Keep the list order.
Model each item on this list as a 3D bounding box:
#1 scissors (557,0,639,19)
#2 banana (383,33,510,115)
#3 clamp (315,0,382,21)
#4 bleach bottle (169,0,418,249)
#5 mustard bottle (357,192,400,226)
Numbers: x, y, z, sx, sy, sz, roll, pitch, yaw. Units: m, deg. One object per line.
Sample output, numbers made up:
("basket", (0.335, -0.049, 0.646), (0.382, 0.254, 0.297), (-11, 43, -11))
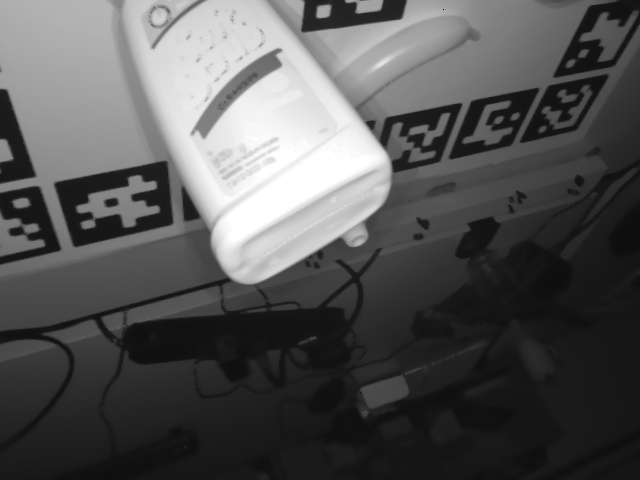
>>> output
("scissors", (0.279, -0.203, 0.575), (0.205, 0.016, 0.086), (10, 128, -35))
("banana", (0.098, -0.147, 0.681), (0.196, 0.039, 0.075), (-35, 161, 12))
("clamp", (-0.047, -0.213, 0.487), (0.205, 0.037, 0.164), (-15, 142, -13))
("bleach bottle", (-0.045, -0.118, 0.427), (0.103, 0.250, 0.067), (-28, 150, -8))
("mustard bottle", (0.022, -0.086, 0.596), (0.097, 0.191, 0.057), (-1, 139, -29))
